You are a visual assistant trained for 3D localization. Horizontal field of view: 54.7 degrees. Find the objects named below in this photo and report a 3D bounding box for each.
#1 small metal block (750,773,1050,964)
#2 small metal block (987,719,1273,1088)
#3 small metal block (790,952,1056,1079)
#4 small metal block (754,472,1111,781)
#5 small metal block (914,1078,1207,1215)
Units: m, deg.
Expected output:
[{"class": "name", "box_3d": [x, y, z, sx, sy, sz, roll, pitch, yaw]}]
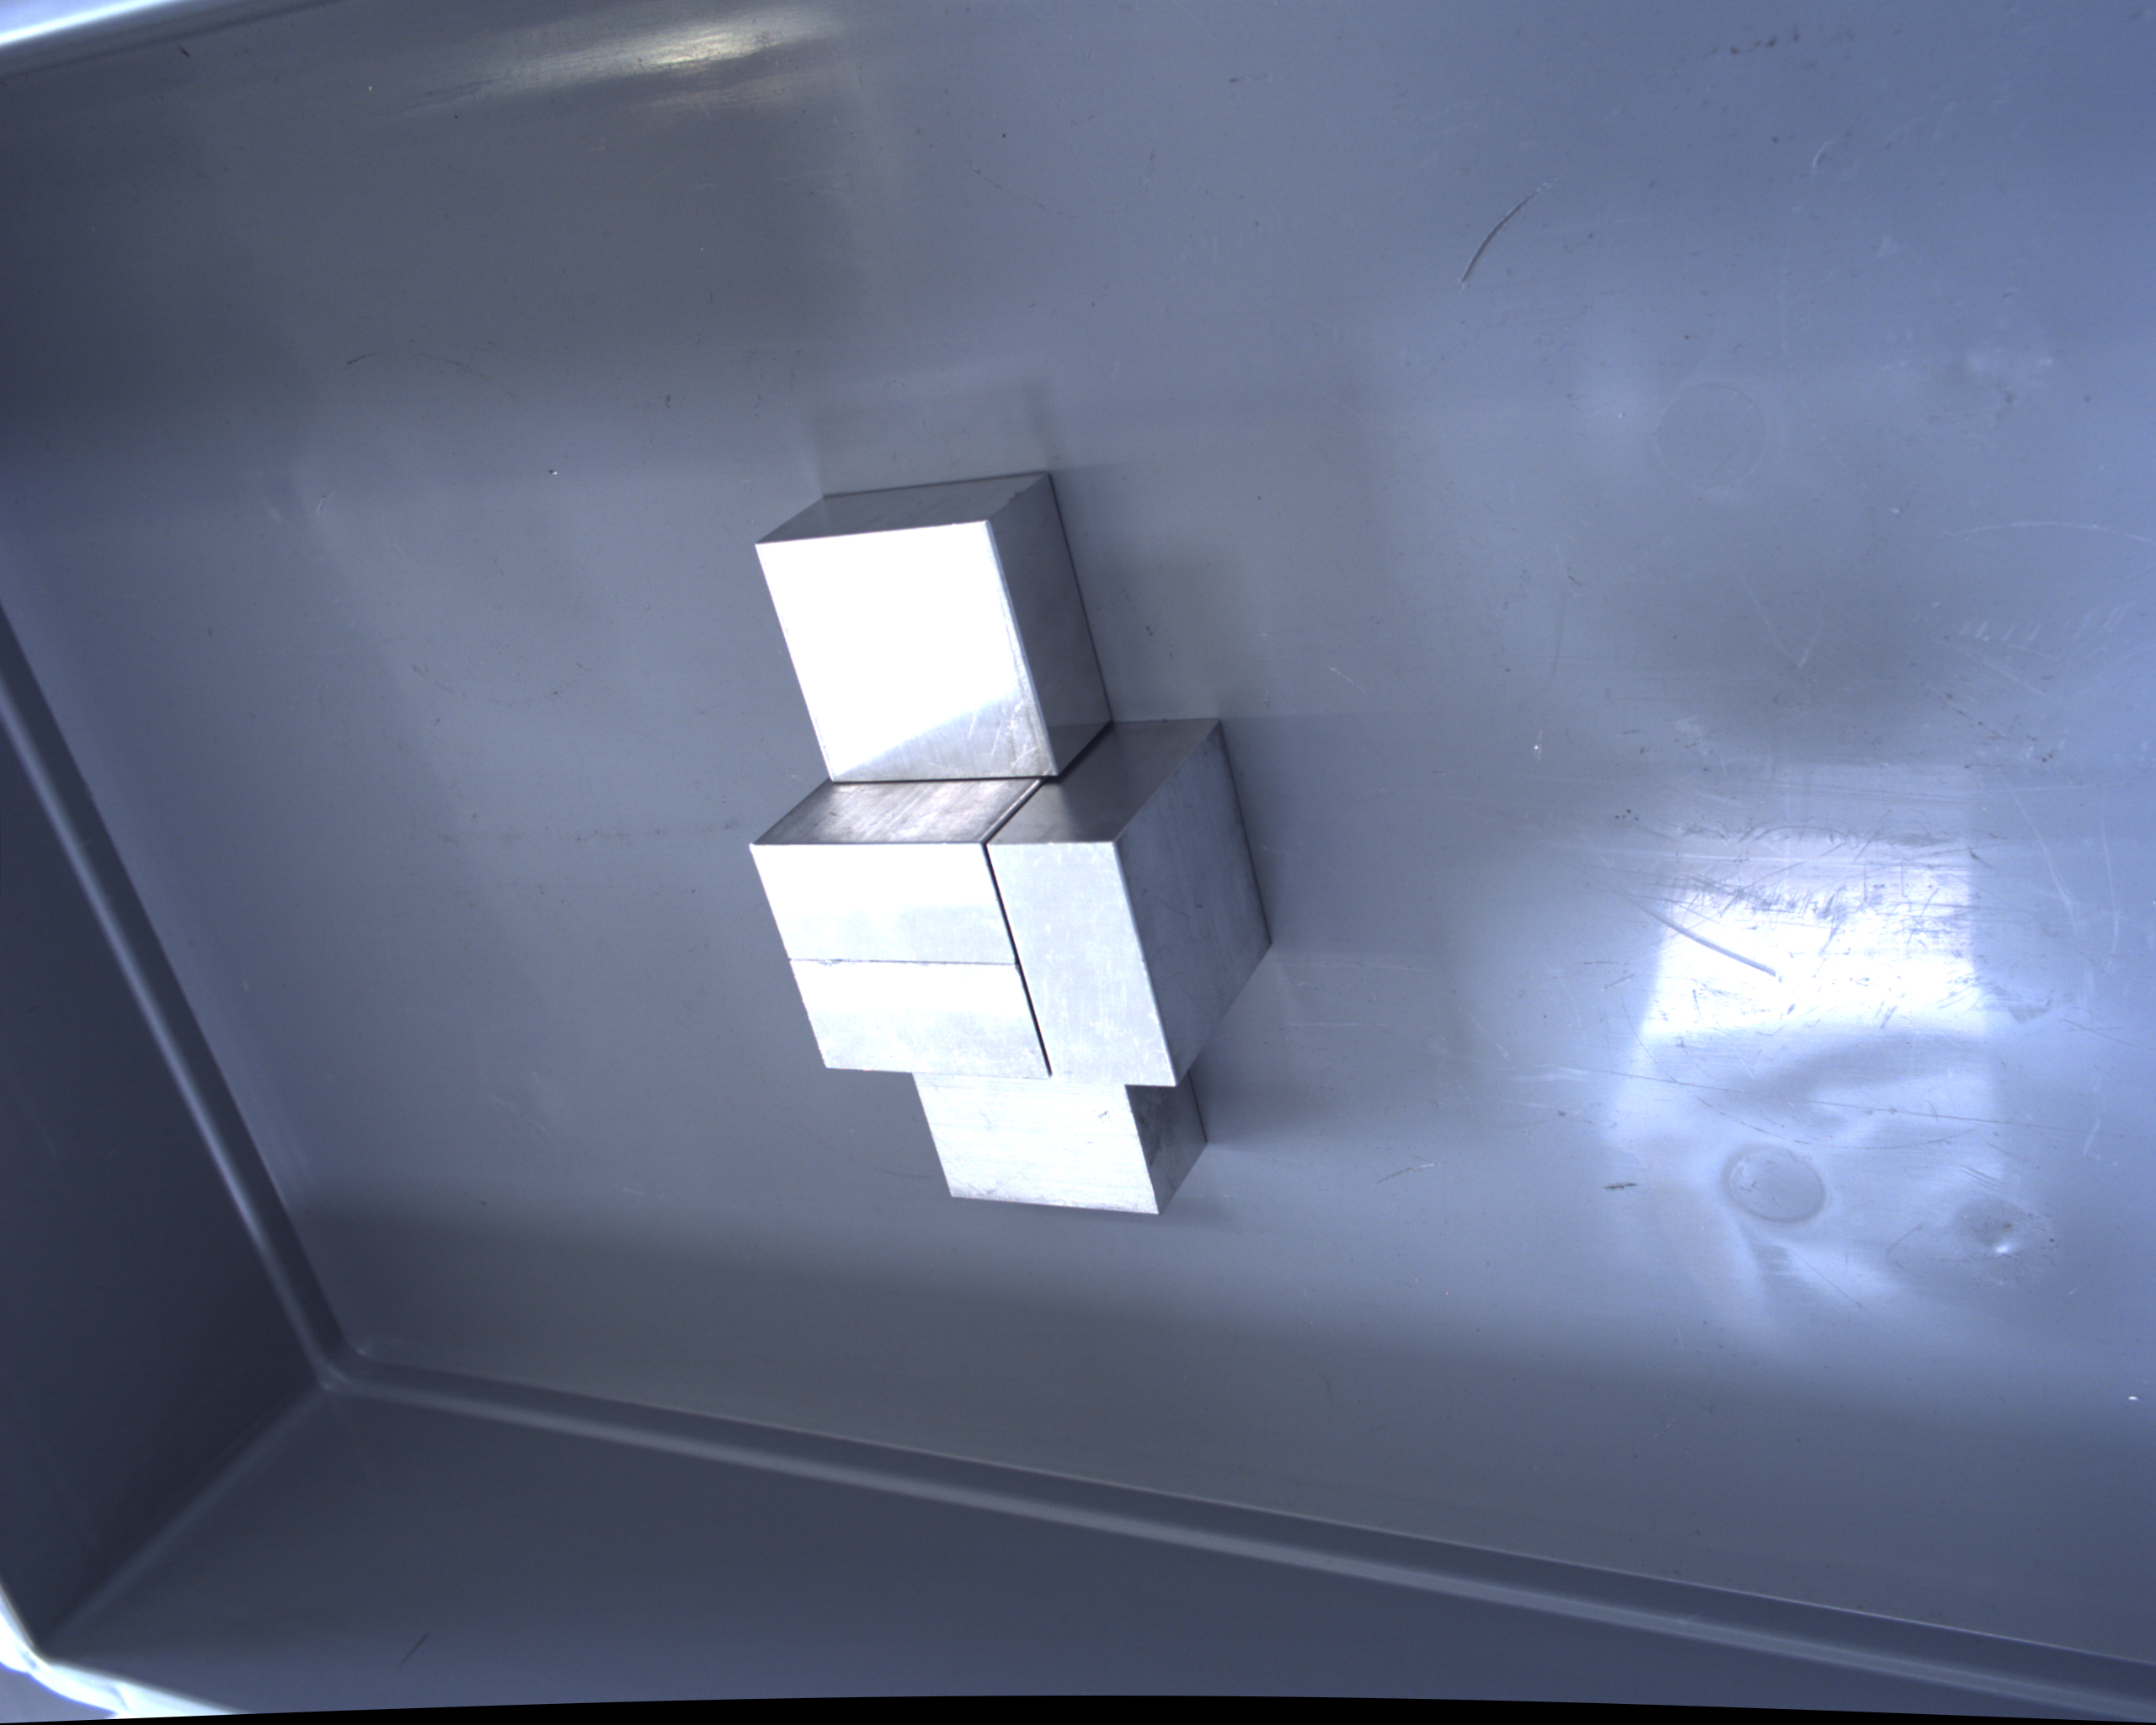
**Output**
[{"class": "small metal block", "box_3d": [-0.026, -0.005, 0.401, 0.050, 0.050, 0.025, 0, 118, 28]}, {"class": "small metal block", "box_3d": [0.011, 0.007, 0.388, 0.025, 0.050, 0.050, 0, 118, 28]}, {"class": "small metal block", "box_3d": [-0.020, 0.017, 0.411, 0.050, 0.050, 0.025, 0, 118, 28]}, {"class": "small metal block", "box_3d": [-0.027, -0.044, 0.394, 0.050, 0.025, 0.050, 0, 119, 28]}, {"class": "small metal block", "box_3d": [-0.006, 0.044, 0.437, 0.050, 0.025, 0.050, 0, 119, 28]}]
